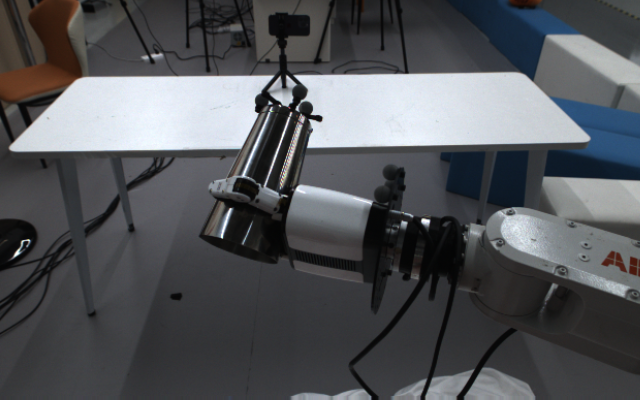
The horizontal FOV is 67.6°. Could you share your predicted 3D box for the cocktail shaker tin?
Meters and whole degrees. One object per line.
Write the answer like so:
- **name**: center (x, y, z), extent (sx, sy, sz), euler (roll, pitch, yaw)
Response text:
- **cocktail shaker tin**: center (-0.068, -0.021, 0.562), extent (0.093, 0.093, 0.170), euler (14, 72, 16)
